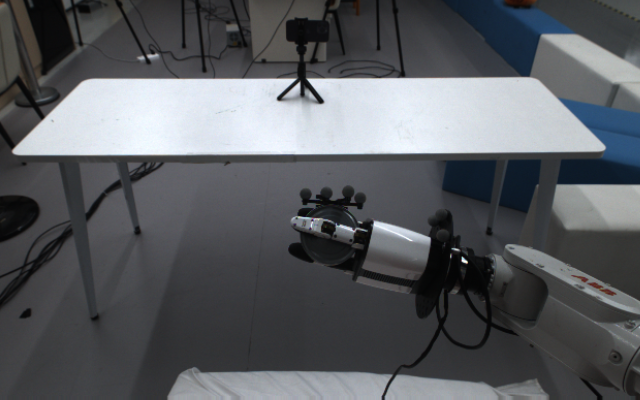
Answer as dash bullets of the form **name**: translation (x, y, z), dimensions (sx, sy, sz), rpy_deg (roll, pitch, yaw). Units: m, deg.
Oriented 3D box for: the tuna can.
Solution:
- **tuna can**: translation (0.015, 0.050, 0.692), dimensions (0.085, 0.034, 0.085), rpy_deg (0, 74, 0)
